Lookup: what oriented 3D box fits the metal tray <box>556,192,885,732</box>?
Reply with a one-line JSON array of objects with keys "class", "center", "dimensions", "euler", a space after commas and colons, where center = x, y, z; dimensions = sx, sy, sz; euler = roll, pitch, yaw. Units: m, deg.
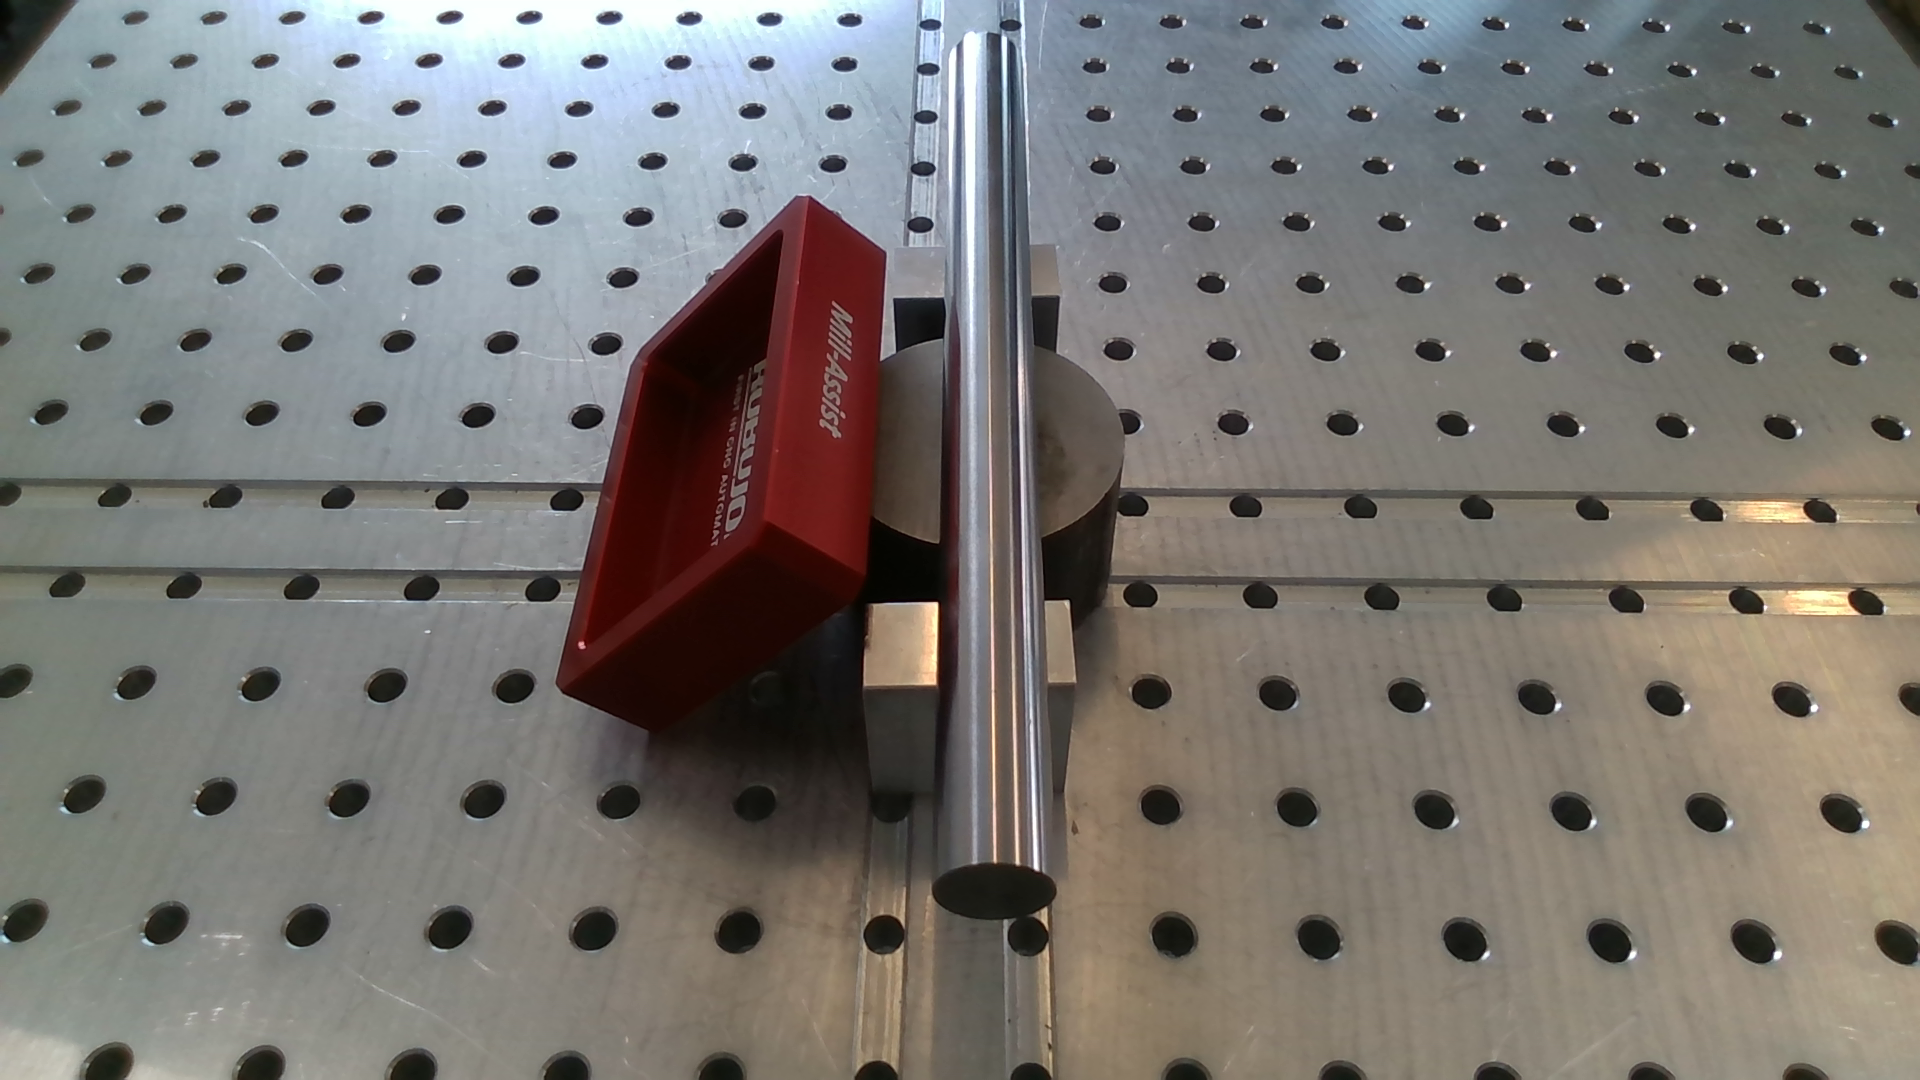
[{"class": "metal tray", "center": [-0.063, -0.024, 0.377], "dimensions": [0.030, 0.090, 0.130], "euler": [31, 41, -31]}]

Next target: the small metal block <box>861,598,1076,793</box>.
[{"class": "small metal block", "center": [0.002, 0.040, 0.348], "dimensions": [0.050, 0.050, 0.025], "euler": [-1, 50, -1]}]

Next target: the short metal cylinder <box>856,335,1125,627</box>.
[{"class": "short metal cylinder", "center": [0.005, -0.013, 0.392], "dimensions": [0.080, 0.050, 0.080], "euler": [0, 50, 0]}]

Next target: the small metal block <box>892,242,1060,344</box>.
[{"class": "small metal block", "center": [0.005, -0.066, 0.436], "dimensions": [0.050, 0.050, 0.025], "euler": [-1, 50, -1]}]

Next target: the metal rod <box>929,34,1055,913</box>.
[{"class": "metal rod", "center": [0.008, -0.046, 0.369], "dimensions": [0.025, 0.025, 0.299], "euler": [0, 50, 0]}]
